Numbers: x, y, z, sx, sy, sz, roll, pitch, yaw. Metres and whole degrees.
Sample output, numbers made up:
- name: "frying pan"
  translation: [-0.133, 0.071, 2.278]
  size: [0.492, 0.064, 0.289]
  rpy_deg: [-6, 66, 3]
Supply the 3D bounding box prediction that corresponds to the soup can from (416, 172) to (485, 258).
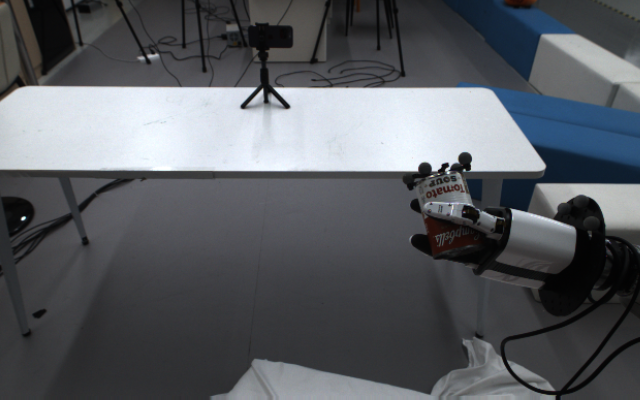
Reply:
- name: "soup can"
  translation: [0.170, 0.019, 0.635]
  size: [0.067, 0.067, 0.101]
  rpy_deg: [-8, 74, -14]
